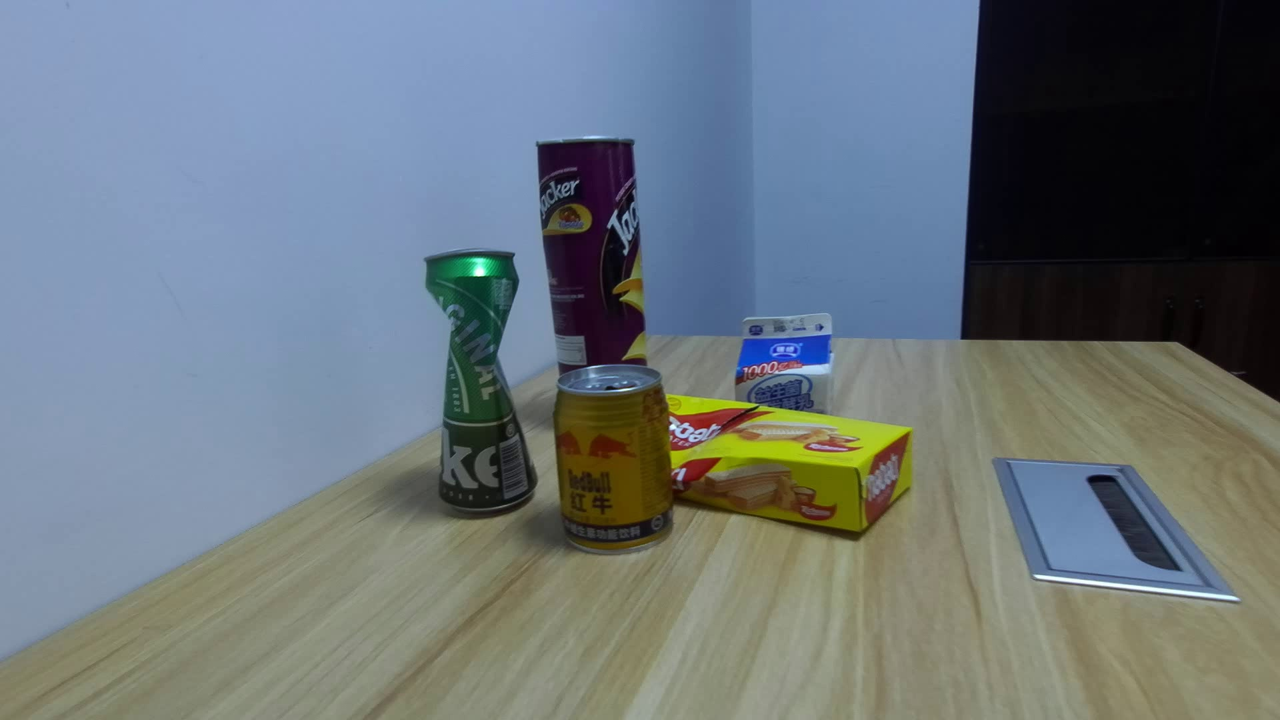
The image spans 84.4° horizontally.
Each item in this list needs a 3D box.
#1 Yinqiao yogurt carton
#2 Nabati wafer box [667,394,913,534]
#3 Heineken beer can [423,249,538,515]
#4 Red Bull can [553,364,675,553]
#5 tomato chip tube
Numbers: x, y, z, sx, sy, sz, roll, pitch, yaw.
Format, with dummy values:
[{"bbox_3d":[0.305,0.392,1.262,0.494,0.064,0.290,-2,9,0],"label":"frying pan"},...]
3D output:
[{"bbox_3d":[0.117,0.008,0.568,0.075,0.092,0.074,0,14,17],"label":"Yinqiao yogurt carton"},{"bbox_3d":[0.061,0.061,0.467,0.203,0.042,0.107,6,14,36],"label":"Nabati wafer box"},{"bbox_3d":[-0.103,0.014,0.451,0.066,0.164,0.078,3,11,24],"label":"Heineken beer can"},{"bbox_3d":[-0.015,0.054,0.404,0.067,0.093,0.067,-2,14,1],"label":"Red Bull can"},{"bbox_3d":[-0.035,-0.061,0.592,0.077,0.235,0.076,-3,12,4],"label":"tomato chip tube"}]
